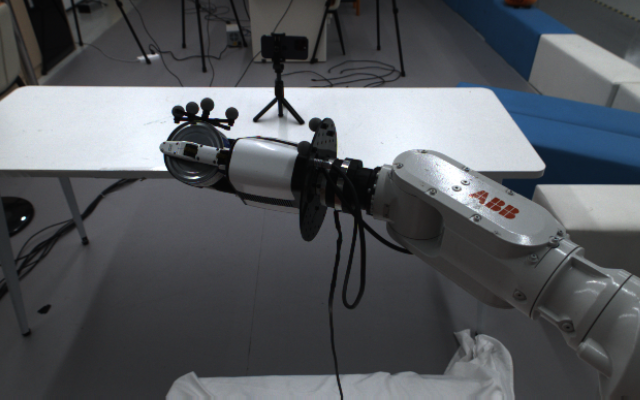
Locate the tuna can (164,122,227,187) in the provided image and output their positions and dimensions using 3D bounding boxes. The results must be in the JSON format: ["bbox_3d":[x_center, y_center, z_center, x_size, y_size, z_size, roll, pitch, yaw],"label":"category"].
[{"bbox_3d":[-0.163,-0.061,0.653,0.085,0.085,0.034,12,-6,14],"label":"tuna can"}]
